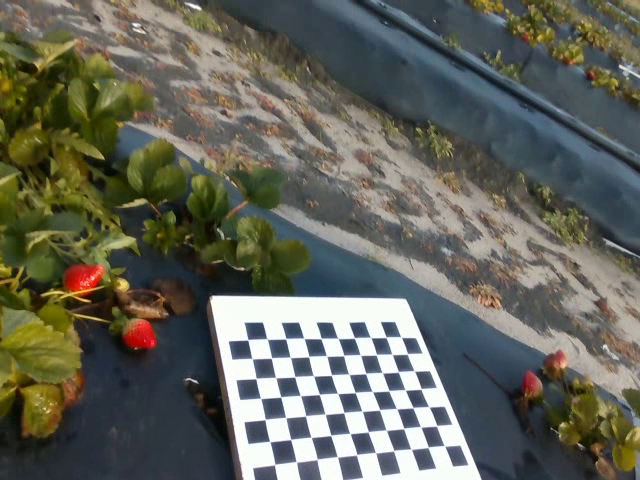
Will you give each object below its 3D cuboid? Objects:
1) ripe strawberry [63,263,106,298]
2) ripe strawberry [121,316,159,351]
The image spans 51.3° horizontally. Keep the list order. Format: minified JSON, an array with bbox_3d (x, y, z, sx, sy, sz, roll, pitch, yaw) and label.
[{"bbox_3d":[-0.252,0.036,0.693,0.048,0.040,0.032,-31,-27,0],"label":"ripe strawberry"},{"bbox_3d":[-0.187,0.099,0.677,0.043,0.030,0.035,39,41,13],"label":"ripe strawberry"}]
